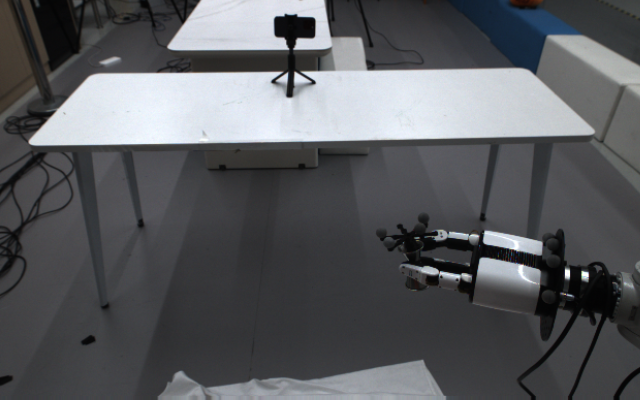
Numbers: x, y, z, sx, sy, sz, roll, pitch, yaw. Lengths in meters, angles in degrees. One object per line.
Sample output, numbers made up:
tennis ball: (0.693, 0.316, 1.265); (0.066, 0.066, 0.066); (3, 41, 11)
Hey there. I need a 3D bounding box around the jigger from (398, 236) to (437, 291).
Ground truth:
jigger: (0.147, 0.099, 0.747); (0.043, 0.071, 0.043); (-14, 21, 6)
